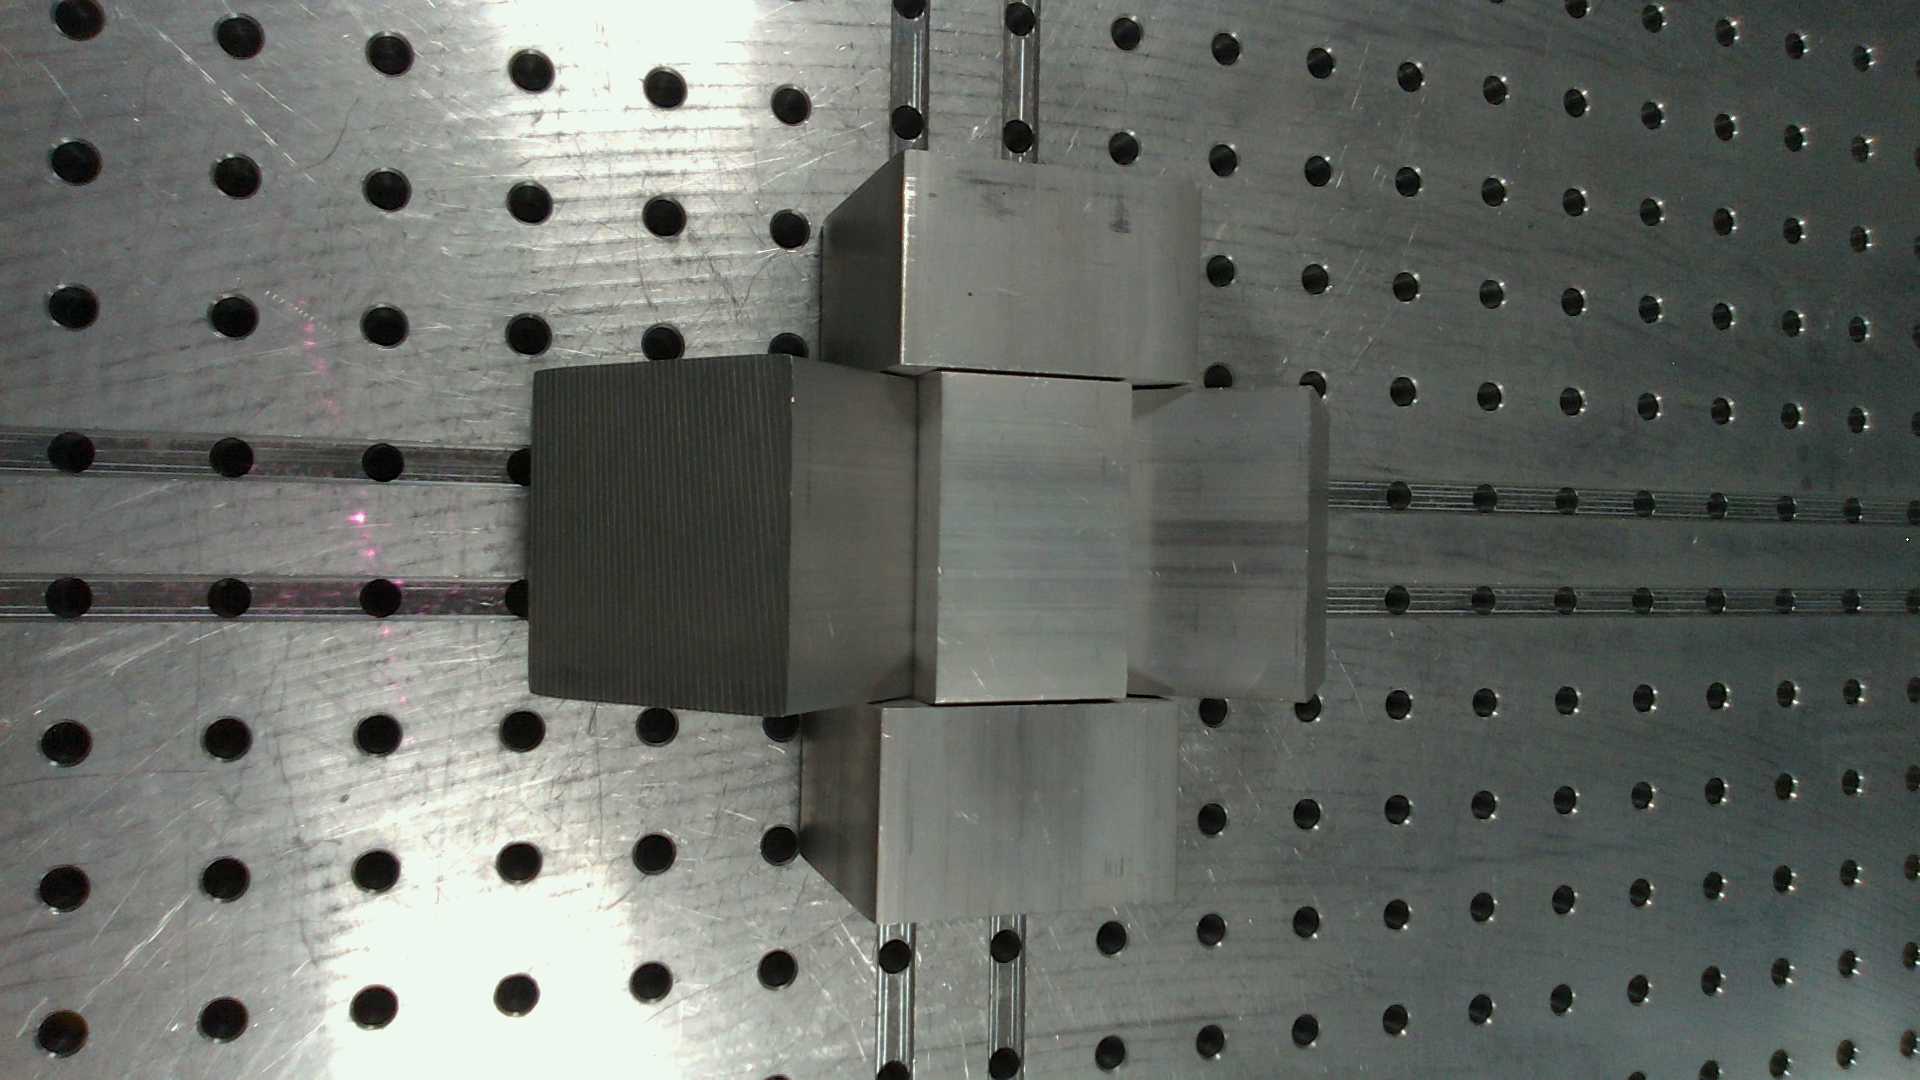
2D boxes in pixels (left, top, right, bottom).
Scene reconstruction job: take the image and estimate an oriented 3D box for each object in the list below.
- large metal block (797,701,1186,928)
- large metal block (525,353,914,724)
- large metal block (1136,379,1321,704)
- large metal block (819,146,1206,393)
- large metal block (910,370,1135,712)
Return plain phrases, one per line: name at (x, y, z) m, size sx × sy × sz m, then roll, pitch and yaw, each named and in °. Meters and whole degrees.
large metal block at (0.005, 0.065, 0.368) m, size 0.080 × 0.080 × 0.050 m, roll 1°, pitch 90°, yaw -20°
large metal block at (-0.059, -0.001, 0.339) m, size 0.050 × 0.080 × 0.080 m, roll 0°, pitch 91°, yaw -59°
large metal block at (0.074, 0.001, 0.385) m, size 0.050 × 0.080 × 0.080 m, roll 1°, pitch 89°, yaw 18°
large metal block at (0.010, -0.065, 0.369) m, size 0.080 × 0.080 × 0.050 m, roll 1°, pitch 90°, yaw -20°
large metal block at (0.006, 0.001, 0.368) m, size 0.050 × 0.080 × 0.080 m, roll 1°, pitch 90°, yaw -20°
